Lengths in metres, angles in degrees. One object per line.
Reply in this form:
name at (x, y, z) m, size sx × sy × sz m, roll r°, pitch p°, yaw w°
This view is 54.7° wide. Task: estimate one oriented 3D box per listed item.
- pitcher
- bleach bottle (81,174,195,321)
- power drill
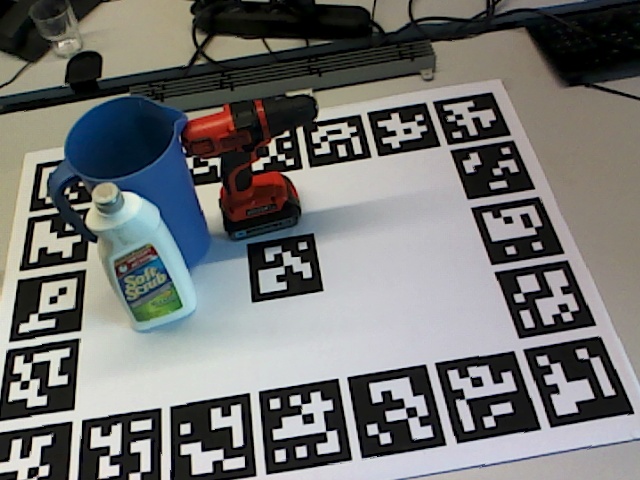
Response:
pitcher at (-0.232, -0.064, 0.833) m, size 0.188 × 0.242 × 0.134 m, roll -32°, pitch 61°, yaw -14°
bleach bottle at (-0.231, 0.011, 0.759) m, size 0.102 × 0.250 × 0.068 m, roll -16°, pitch 57°, yaw -4°
power drill at (-0.068, -0.100, 0.850) m, size 0.184 × 0.186 × 0.057 m, roll -11°, pitch 59°, yaw -8°
